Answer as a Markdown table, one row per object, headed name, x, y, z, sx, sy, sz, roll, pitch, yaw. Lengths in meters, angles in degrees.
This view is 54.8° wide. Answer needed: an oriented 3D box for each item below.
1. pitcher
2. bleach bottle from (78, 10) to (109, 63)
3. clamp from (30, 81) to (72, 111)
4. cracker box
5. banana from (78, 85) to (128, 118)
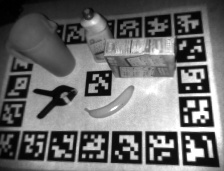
| name | x | y | z | sx | sy | sz | roll | pitch | yaw |
| --- | --- | --- | --- | --- | --- | --- | --- | --- | --- |
| pitcher | -0.254 | -0.142 | 0.756 | 0.188 | 0.244 | 0.132 | -14 | 66 | 6 |
| bleach bottle | -0.063 | -0.162 | 0.742 | 0.102 | 0.253 | 0.068 | 3 | 69 | 16 |
| clamp | -0.234 | 0.027 | 0.824 | 0.164 | 0.037 | 0.121 | -12 | 66 | 6 |
| cracker box | 0.080 | -0.073 | 0.705 | 0.212 | 0.166 | 0.072 | 4 | 68 | 17 |
| banana | -0.024 | 0.064 | 0.770 | 0.197 | 0.039 | 0.073 | -29 | 65 | 1 |
